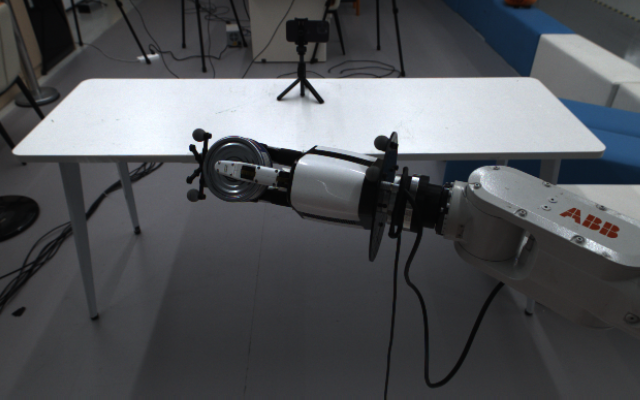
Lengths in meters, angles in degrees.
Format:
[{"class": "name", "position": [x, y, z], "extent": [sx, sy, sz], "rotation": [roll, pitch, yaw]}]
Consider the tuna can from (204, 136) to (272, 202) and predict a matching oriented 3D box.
[{"class": "tuna can", "position": [-0.104, -0.040, 0.627], "extent": [0.085, 0.085, 0.034], "rotation": [10, 2, 11]}]
